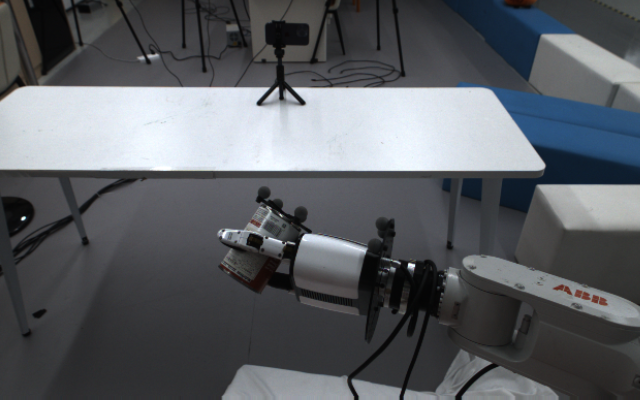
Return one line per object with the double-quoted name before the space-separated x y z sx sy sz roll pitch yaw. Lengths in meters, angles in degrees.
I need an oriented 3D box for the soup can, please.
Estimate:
"soup can" -0.078 0.066 0.647 0.067 0.067 0.101 27 78 31
